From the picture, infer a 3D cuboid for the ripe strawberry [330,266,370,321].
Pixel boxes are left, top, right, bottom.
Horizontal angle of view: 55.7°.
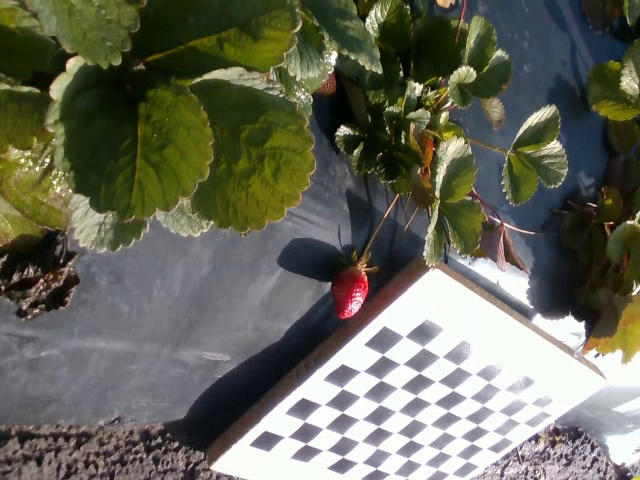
[{"bbox_3d":[0.017,0.035,0.379,0.034,0.038,0.033,29,-27,-34],"label":"ripe strawberry"}]
